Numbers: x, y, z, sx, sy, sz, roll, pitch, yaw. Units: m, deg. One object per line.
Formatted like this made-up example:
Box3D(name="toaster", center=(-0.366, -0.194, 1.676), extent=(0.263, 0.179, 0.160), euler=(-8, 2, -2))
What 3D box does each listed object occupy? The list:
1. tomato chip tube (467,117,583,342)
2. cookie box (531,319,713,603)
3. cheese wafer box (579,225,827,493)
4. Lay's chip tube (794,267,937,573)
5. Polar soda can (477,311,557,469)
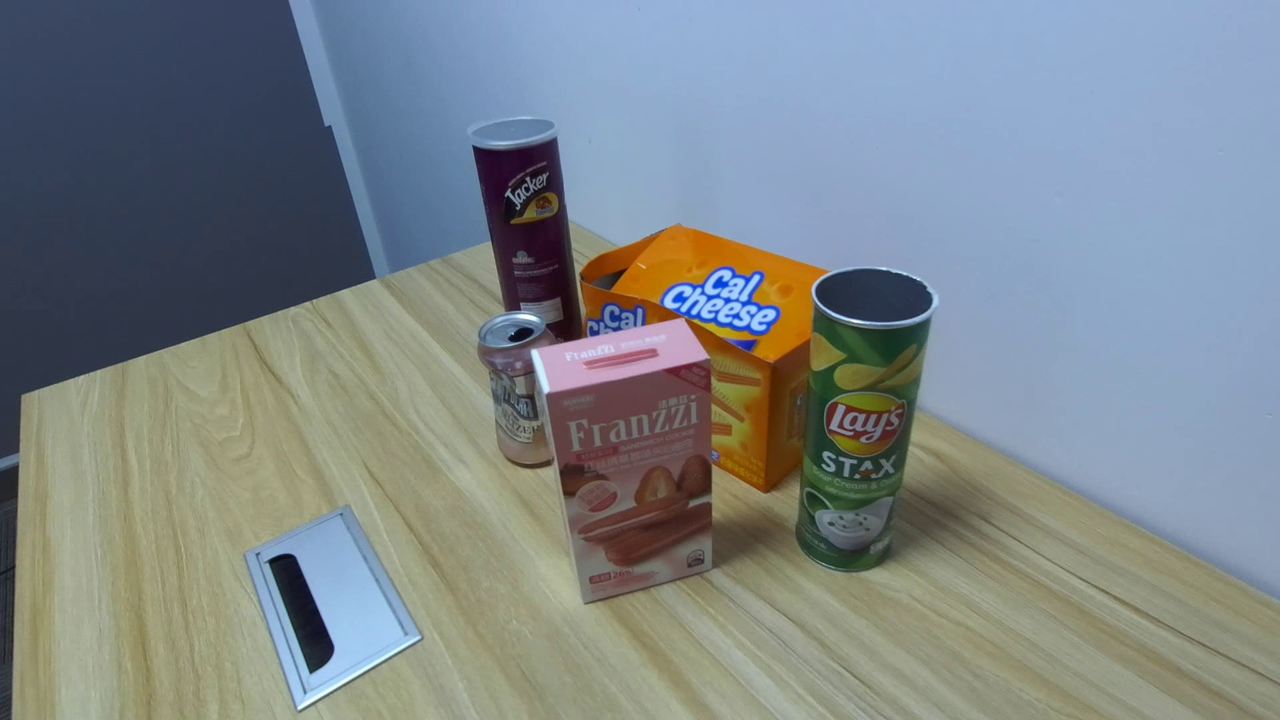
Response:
Box3D(name="tomato chip tube", center=(-0.103, -0.104, 0.684), extent=(0.078, 0.234, 0.078), euler=(-3, 33, 3))
Box3D(name="cookie box", center=(-0.005, 0.071, 0.455), extent=(0.096, 0.185, 0.048), euler=(-12, 36, -10))
Box3D(name="cheese wafer box", center=(0.065, -0.014, 0.628), extent=(0.229, 0.132, 0.153), euler=(27, 46, 37))
Box3D(name="Lay's chip tube", center=(0.140, 0.043, 0.455), extent=(0.071, 0.203, 0.071), euler=(-4, 35, 3))
Box3D(name="Polar soda can", center=(-0.097, 0.026, 0.597), extent=(0.067, 0.122, 0.074), euler=(-4, 31, 1))
